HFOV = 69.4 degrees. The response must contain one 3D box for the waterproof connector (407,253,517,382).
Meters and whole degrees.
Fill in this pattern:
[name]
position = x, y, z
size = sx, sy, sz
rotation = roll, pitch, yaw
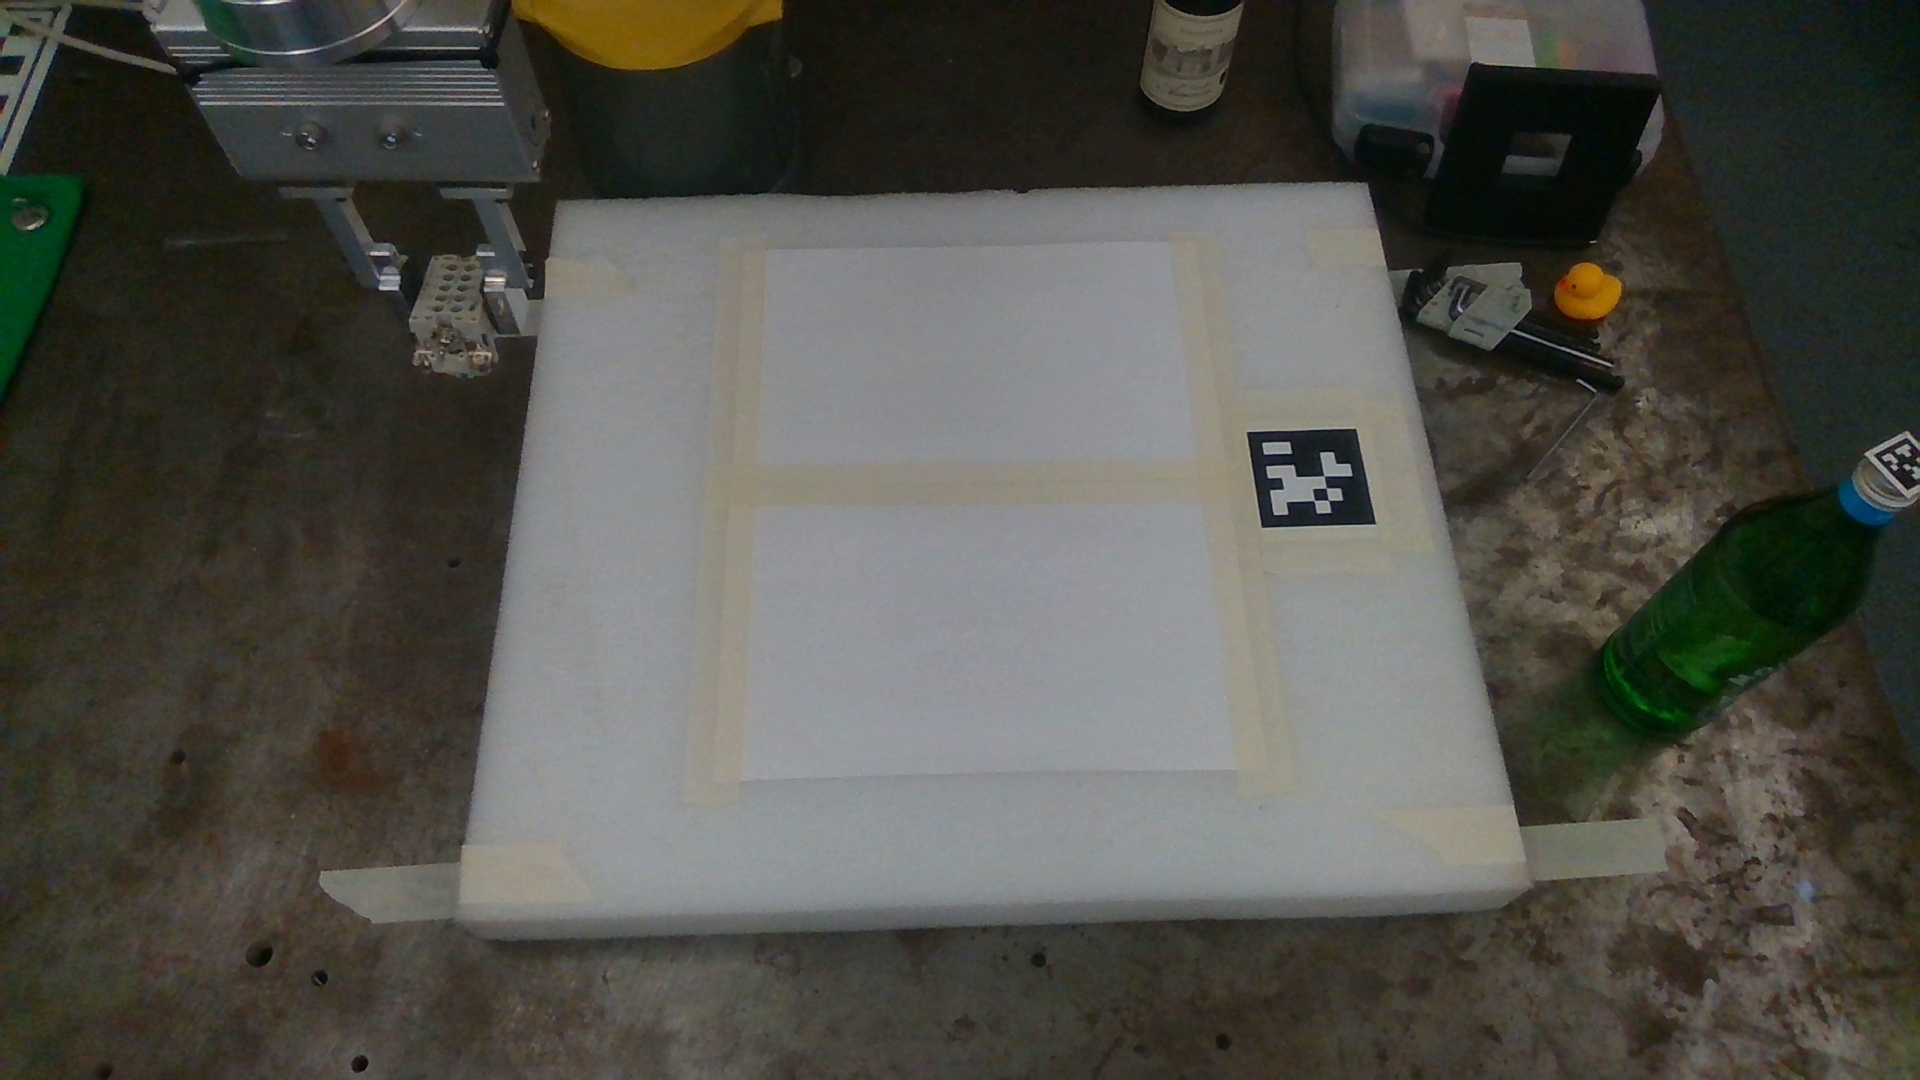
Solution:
[waterproof connector]
position = -0.232, -0.104, 0.649
size = 0.037, 0.038, 0.069
rotation = 0, 51, -1
